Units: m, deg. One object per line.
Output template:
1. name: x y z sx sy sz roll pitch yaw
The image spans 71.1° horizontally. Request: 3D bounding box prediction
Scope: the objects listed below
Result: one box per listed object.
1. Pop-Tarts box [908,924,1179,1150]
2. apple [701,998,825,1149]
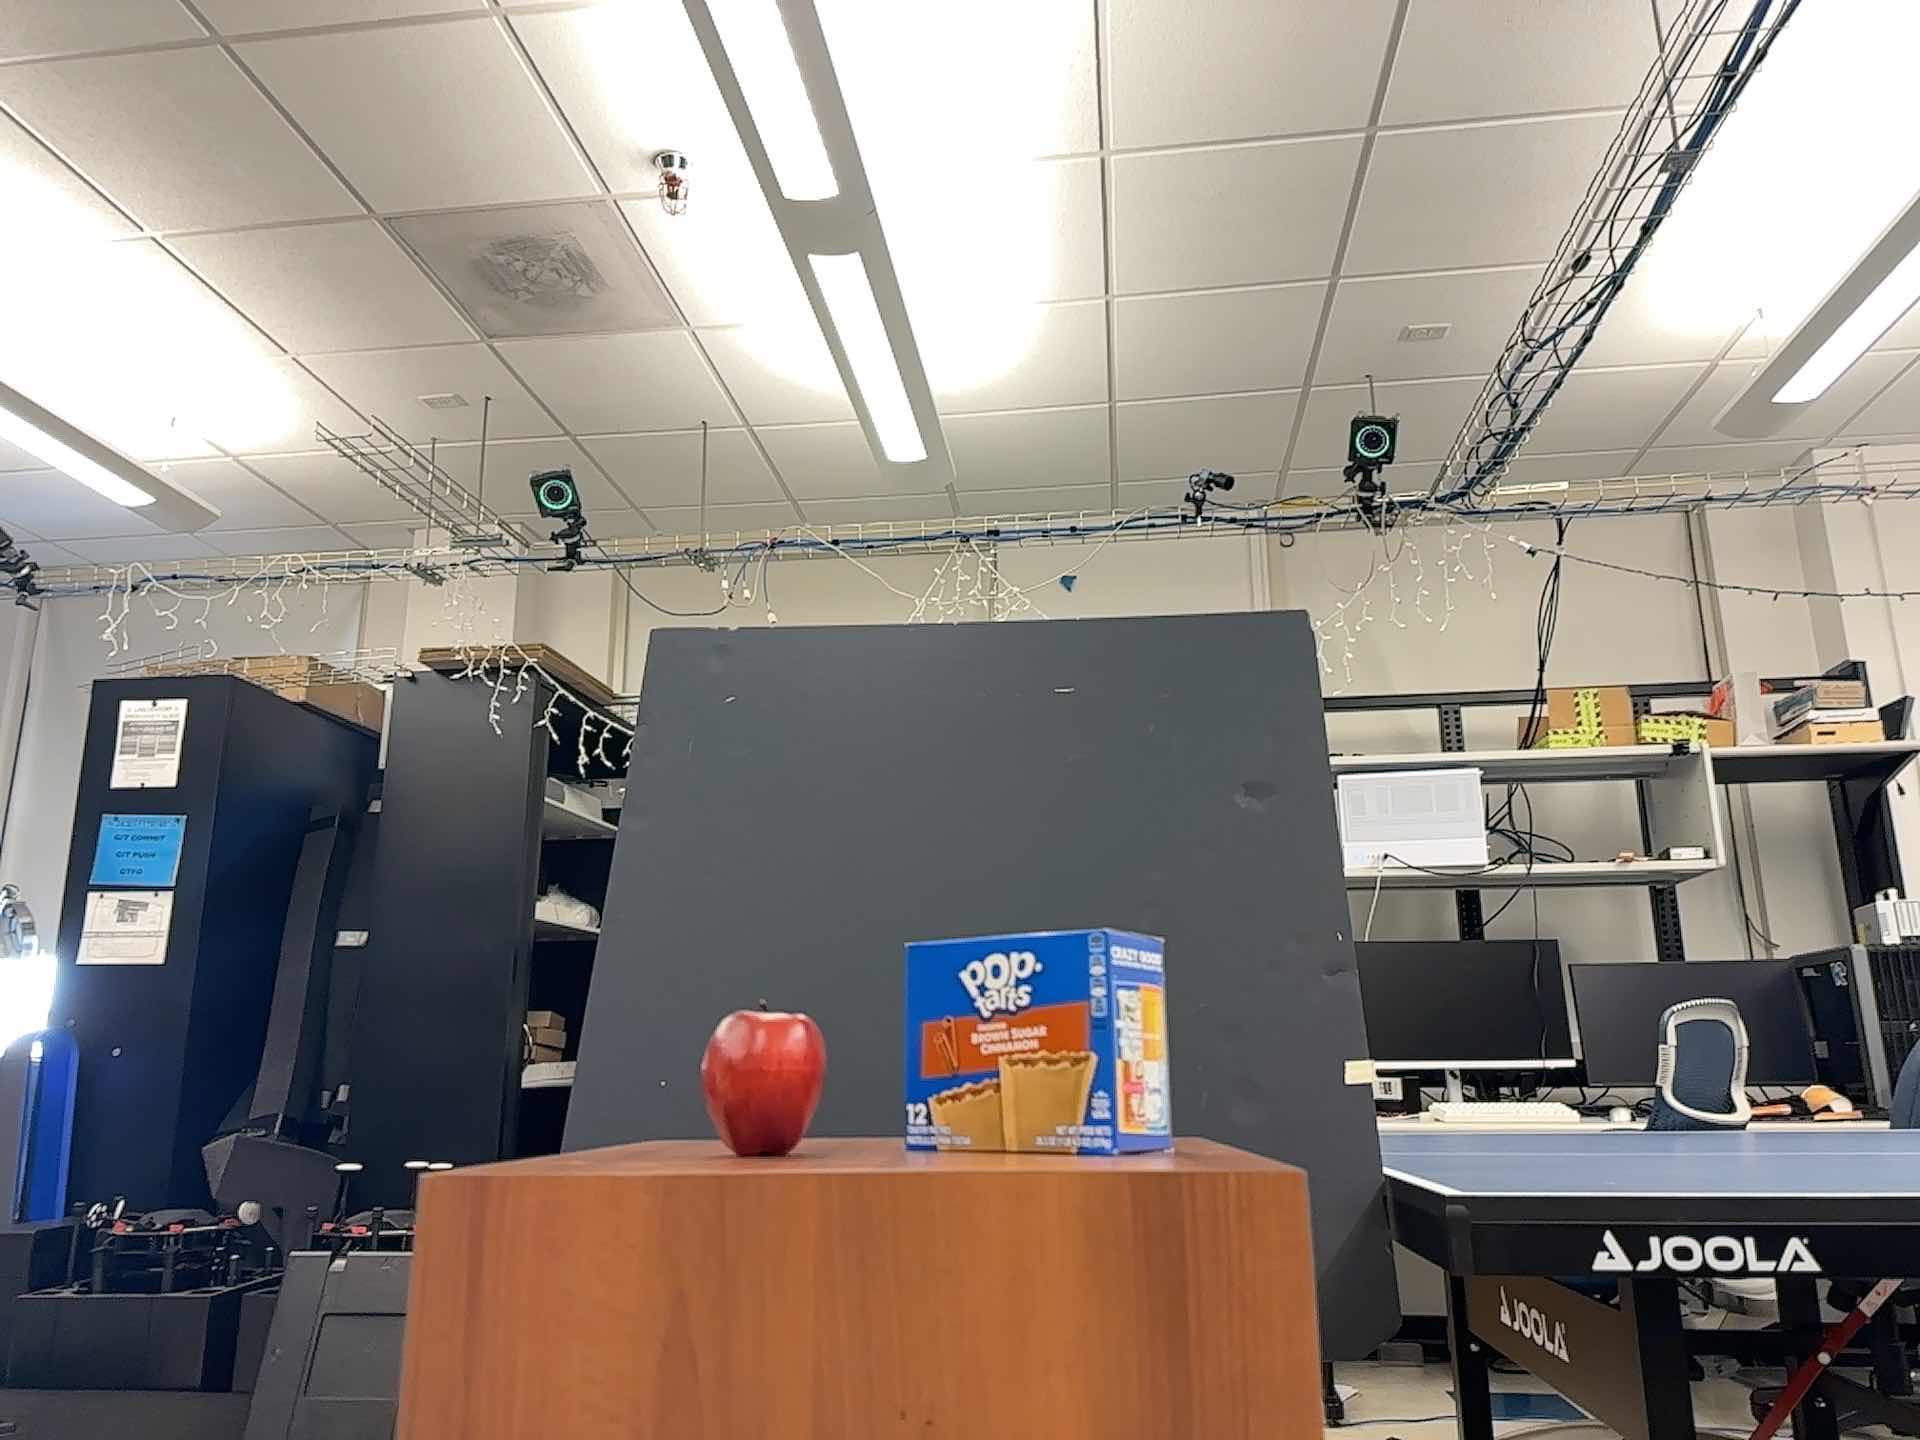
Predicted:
1. Pop-Tarts box: 0.053 0.218 0.914 0.161 0.135 0.075 -11 -19 34
2. apple: -0.129 0.228 0.870 0.079 0.093 0.079 0 -14 0
